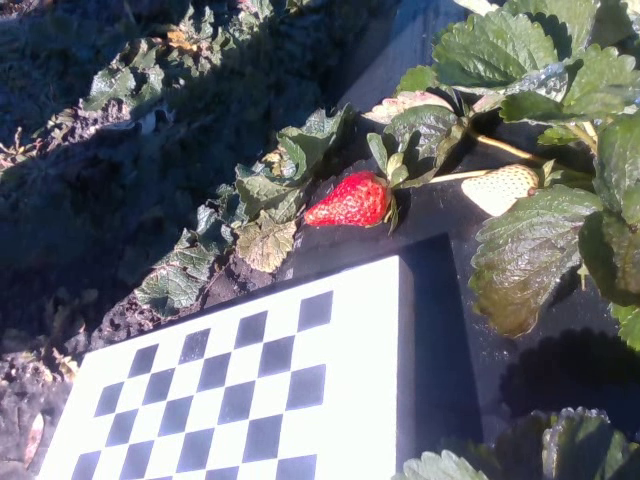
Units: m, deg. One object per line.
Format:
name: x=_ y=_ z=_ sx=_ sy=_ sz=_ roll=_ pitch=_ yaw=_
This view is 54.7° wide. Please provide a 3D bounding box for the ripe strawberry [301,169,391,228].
ripe strawberry: x=0.017 y=-0.024 z=0.403 sx=0.068 sy=0.040 sz=0.048 roll=-27 pitch=39 yaw=11
